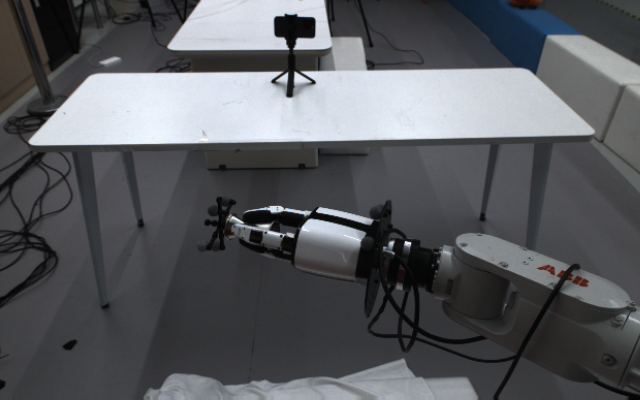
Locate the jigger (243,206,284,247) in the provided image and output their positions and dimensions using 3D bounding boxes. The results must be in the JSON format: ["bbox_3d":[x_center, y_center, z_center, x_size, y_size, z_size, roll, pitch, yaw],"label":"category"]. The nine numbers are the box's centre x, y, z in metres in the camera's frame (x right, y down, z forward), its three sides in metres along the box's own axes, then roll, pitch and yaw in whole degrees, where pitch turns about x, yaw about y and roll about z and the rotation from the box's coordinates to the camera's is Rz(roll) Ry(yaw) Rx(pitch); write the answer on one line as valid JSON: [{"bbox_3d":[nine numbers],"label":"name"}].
[{"bbox_3d":[-0.092,0.041,0.693,0.071,0.043,0.043,10,35,16],"label":"jigger"}]
